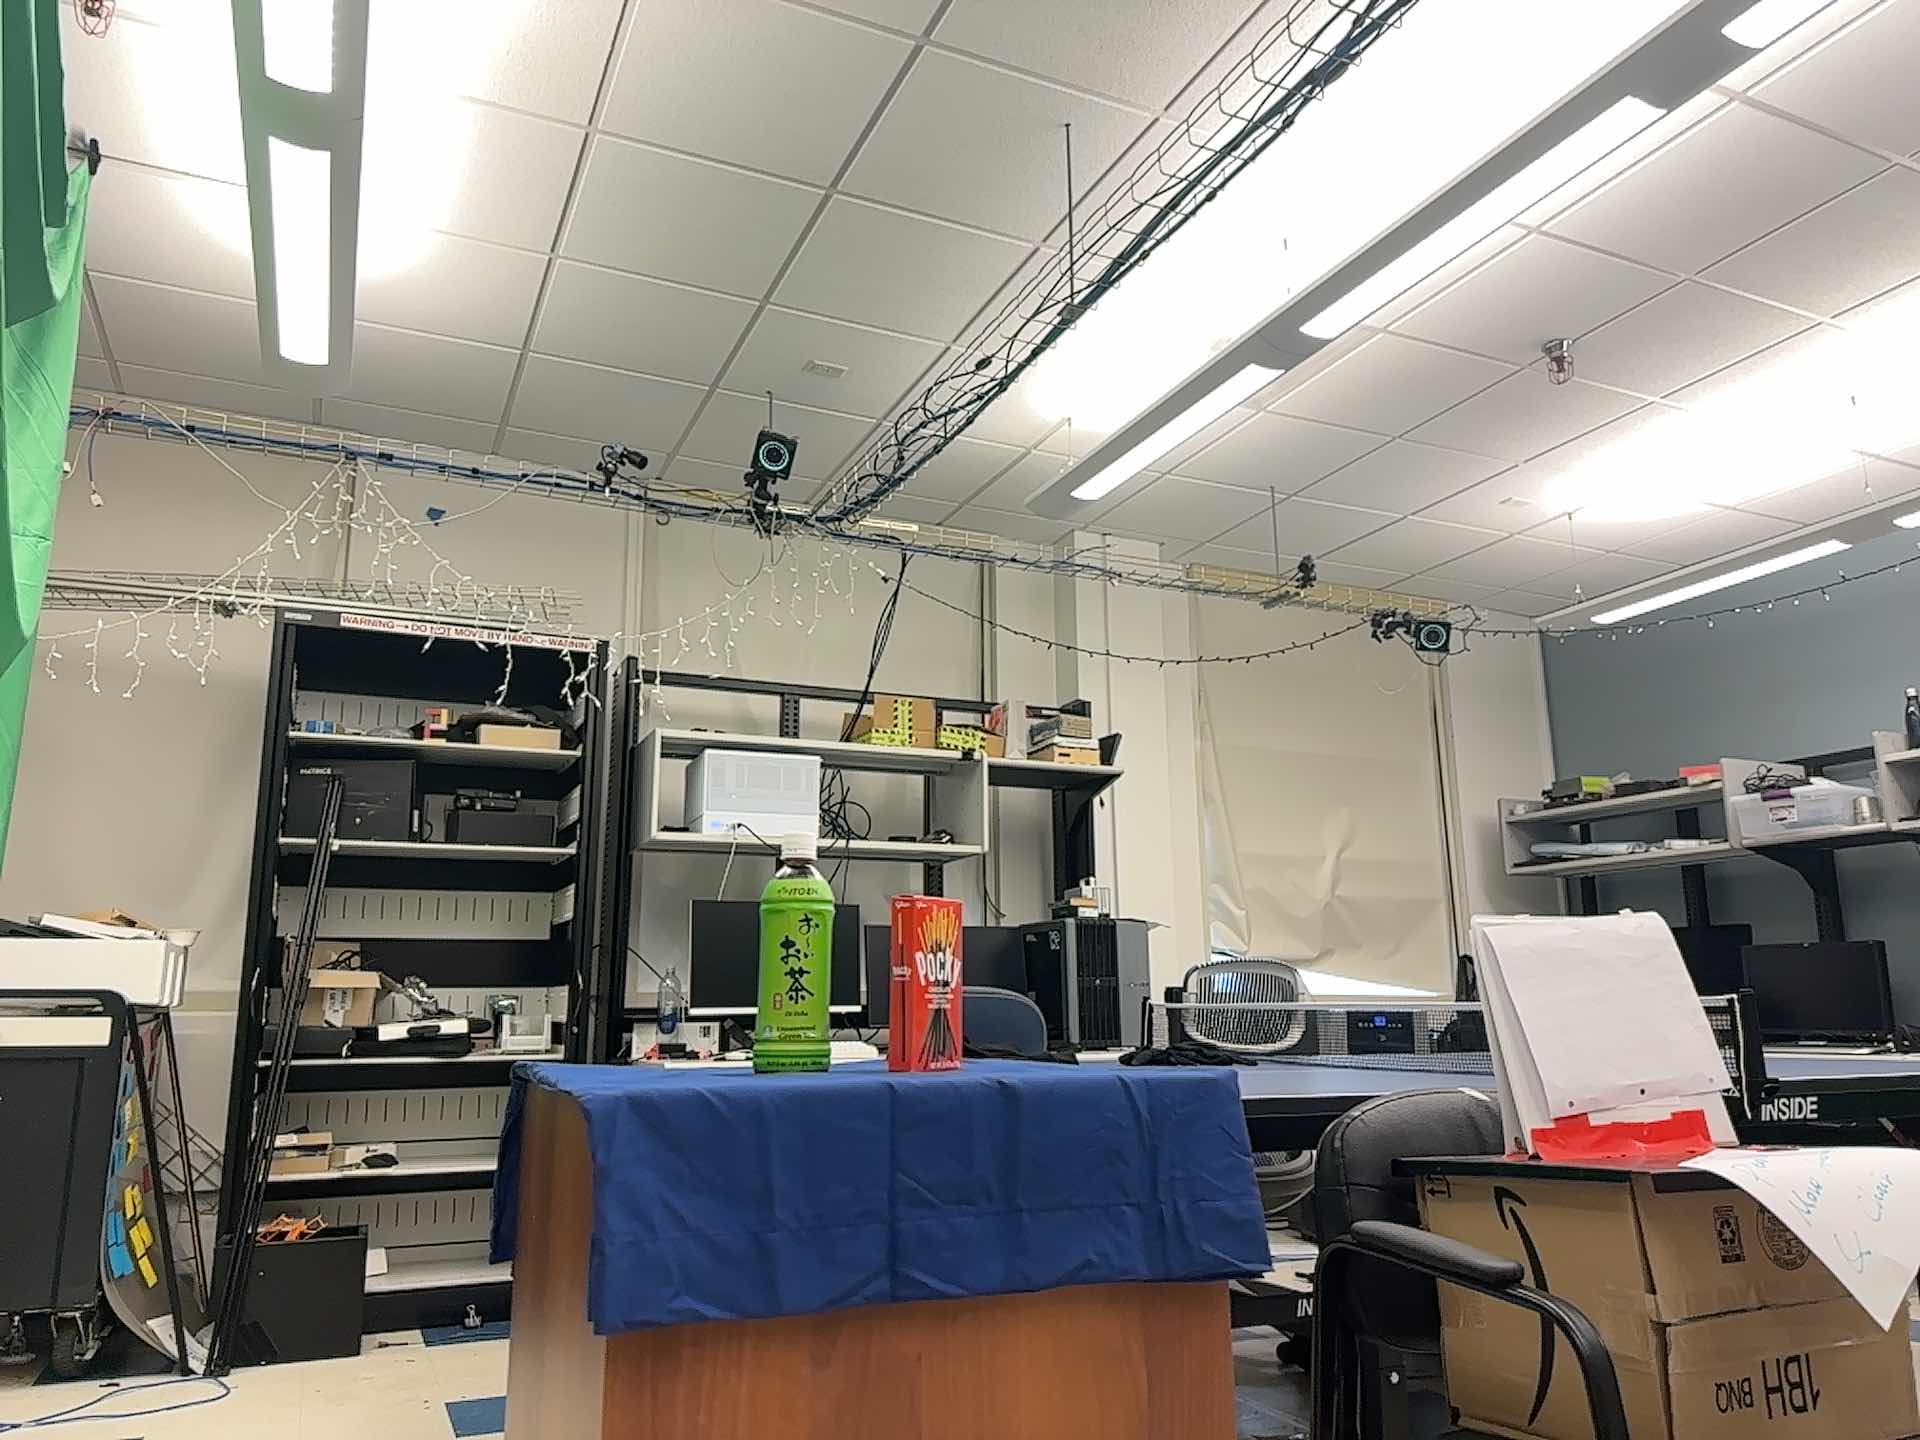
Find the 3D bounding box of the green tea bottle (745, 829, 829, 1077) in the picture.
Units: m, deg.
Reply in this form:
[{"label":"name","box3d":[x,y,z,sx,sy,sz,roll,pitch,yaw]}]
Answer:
[{"label":"green tea bottle","box3d":[-0.151,0.202,1.176,0.073,0.212,0.073,-2,-11,0]}]

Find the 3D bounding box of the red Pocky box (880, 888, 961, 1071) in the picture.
[{"label":"red Pocky box","box3d":[-0.034,0.227,1.180,0.028,0.155,0.083,-6,-13,35]}]
